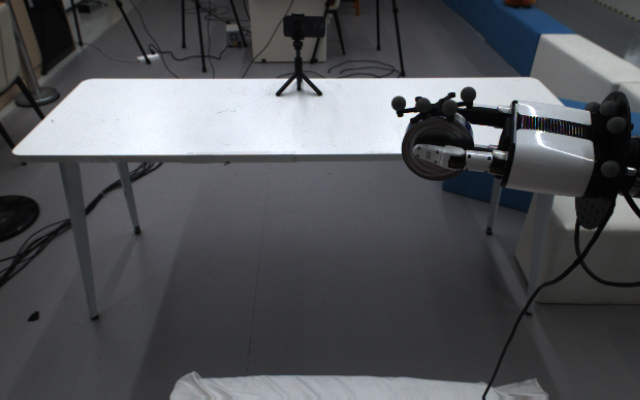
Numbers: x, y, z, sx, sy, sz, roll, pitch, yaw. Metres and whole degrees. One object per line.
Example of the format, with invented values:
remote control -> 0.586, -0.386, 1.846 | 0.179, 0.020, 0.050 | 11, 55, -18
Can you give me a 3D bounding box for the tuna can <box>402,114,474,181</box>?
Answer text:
tuna can -> 0.146, -0.070, 0.597 | 0.085, 0.085, 0.034 | 10, 33, 11
